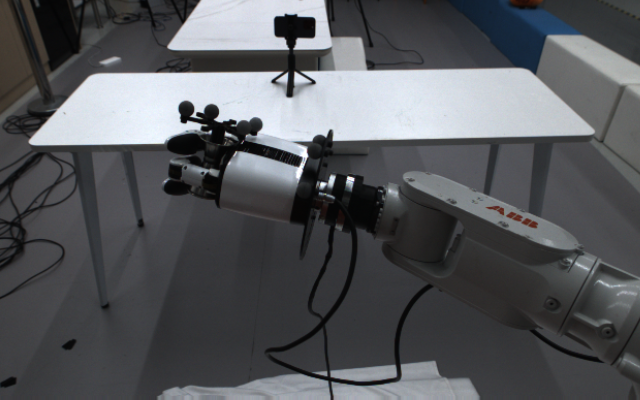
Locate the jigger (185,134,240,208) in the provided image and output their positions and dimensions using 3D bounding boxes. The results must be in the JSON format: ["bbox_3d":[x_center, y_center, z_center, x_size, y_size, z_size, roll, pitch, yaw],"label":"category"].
[{"bbox_3d":[-0.127,-0.039,0.581,0.043,0.071,0.043,15,17,-5],"label":"jigger"}]
